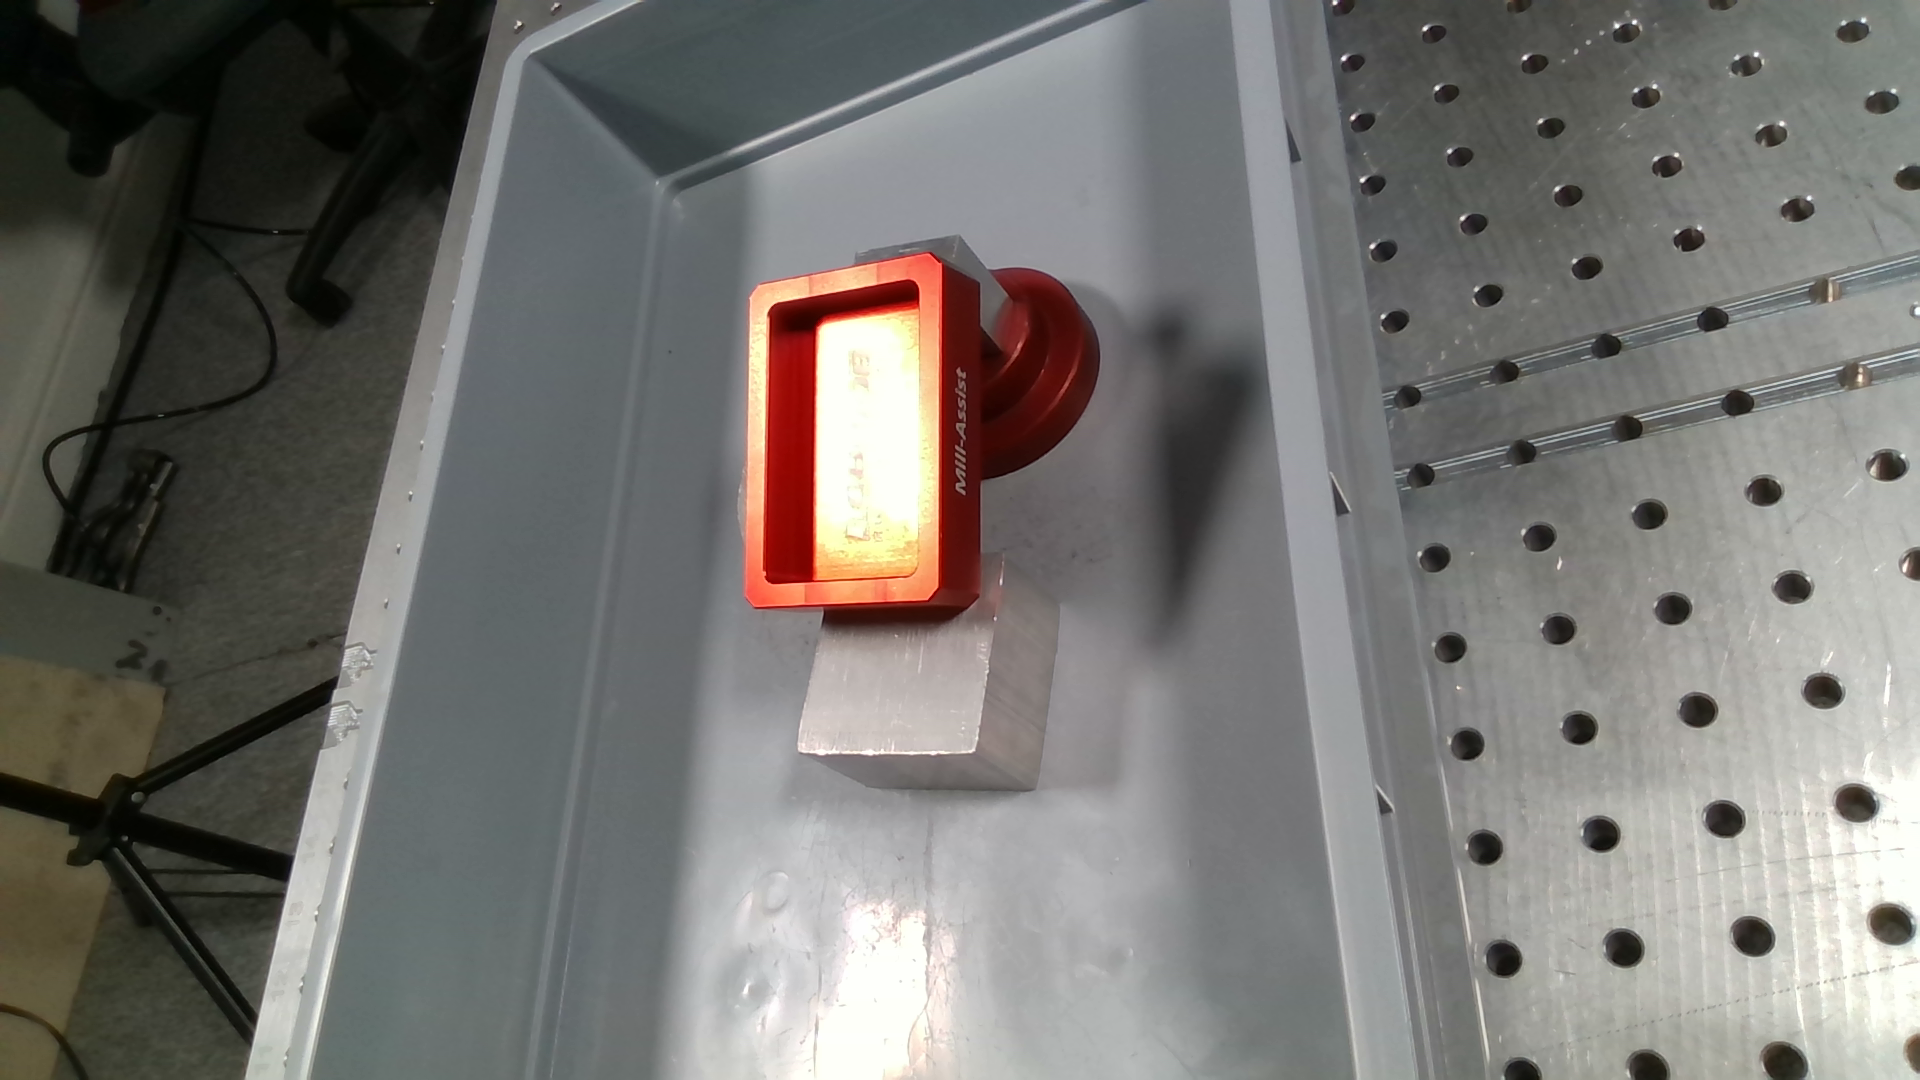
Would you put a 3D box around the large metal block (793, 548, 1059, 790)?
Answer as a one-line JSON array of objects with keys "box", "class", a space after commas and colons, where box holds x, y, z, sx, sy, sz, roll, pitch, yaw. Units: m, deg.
[{"box": [-0.012, 0.053, 0.546, 0.080, 0.050, 0.080, -5, 63, 30], "class": "large metal block"}]

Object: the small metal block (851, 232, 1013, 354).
[{"box": [-0.013, -0.100, 0.574, 0.050, 0.050, 0.025, -2, 64, 31], "class": "small metal block"}]

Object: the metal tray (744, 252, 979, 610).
[{"box": [-0.039, -0.038, 0.534, 0.090, 0.030, 0.130, -4, 83, 30], "class": "metal tray"}]

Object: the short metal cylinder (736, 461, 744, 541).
[{"box": [-0.051, -0.020, 0.595, 0.080, 0.050, 0.080, -11, 74, 39], "class": "short metal cylinder"}]

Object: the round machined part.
[{"box": [0.009, -0.080, 0.610, 0.098, 0.042, 0.098, -14, 59, 25], "class": "round machined part"}]
